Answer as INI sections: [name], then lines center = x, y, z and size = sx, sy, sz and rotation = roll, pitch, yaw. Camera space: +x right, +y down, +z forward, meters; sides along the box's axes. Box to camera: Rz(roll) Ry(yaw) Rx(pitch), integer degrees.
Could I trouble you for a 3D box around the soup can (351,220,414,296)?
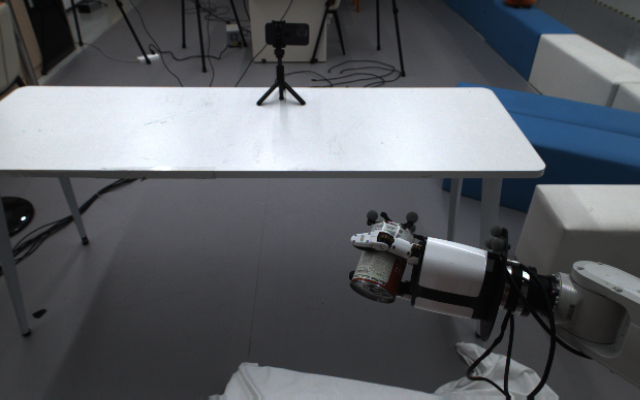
[soup can]
center = 0.092, 0.087, 0.705
size = 0.067, 0.067, 0.101
rotation = 15, 63, 18
